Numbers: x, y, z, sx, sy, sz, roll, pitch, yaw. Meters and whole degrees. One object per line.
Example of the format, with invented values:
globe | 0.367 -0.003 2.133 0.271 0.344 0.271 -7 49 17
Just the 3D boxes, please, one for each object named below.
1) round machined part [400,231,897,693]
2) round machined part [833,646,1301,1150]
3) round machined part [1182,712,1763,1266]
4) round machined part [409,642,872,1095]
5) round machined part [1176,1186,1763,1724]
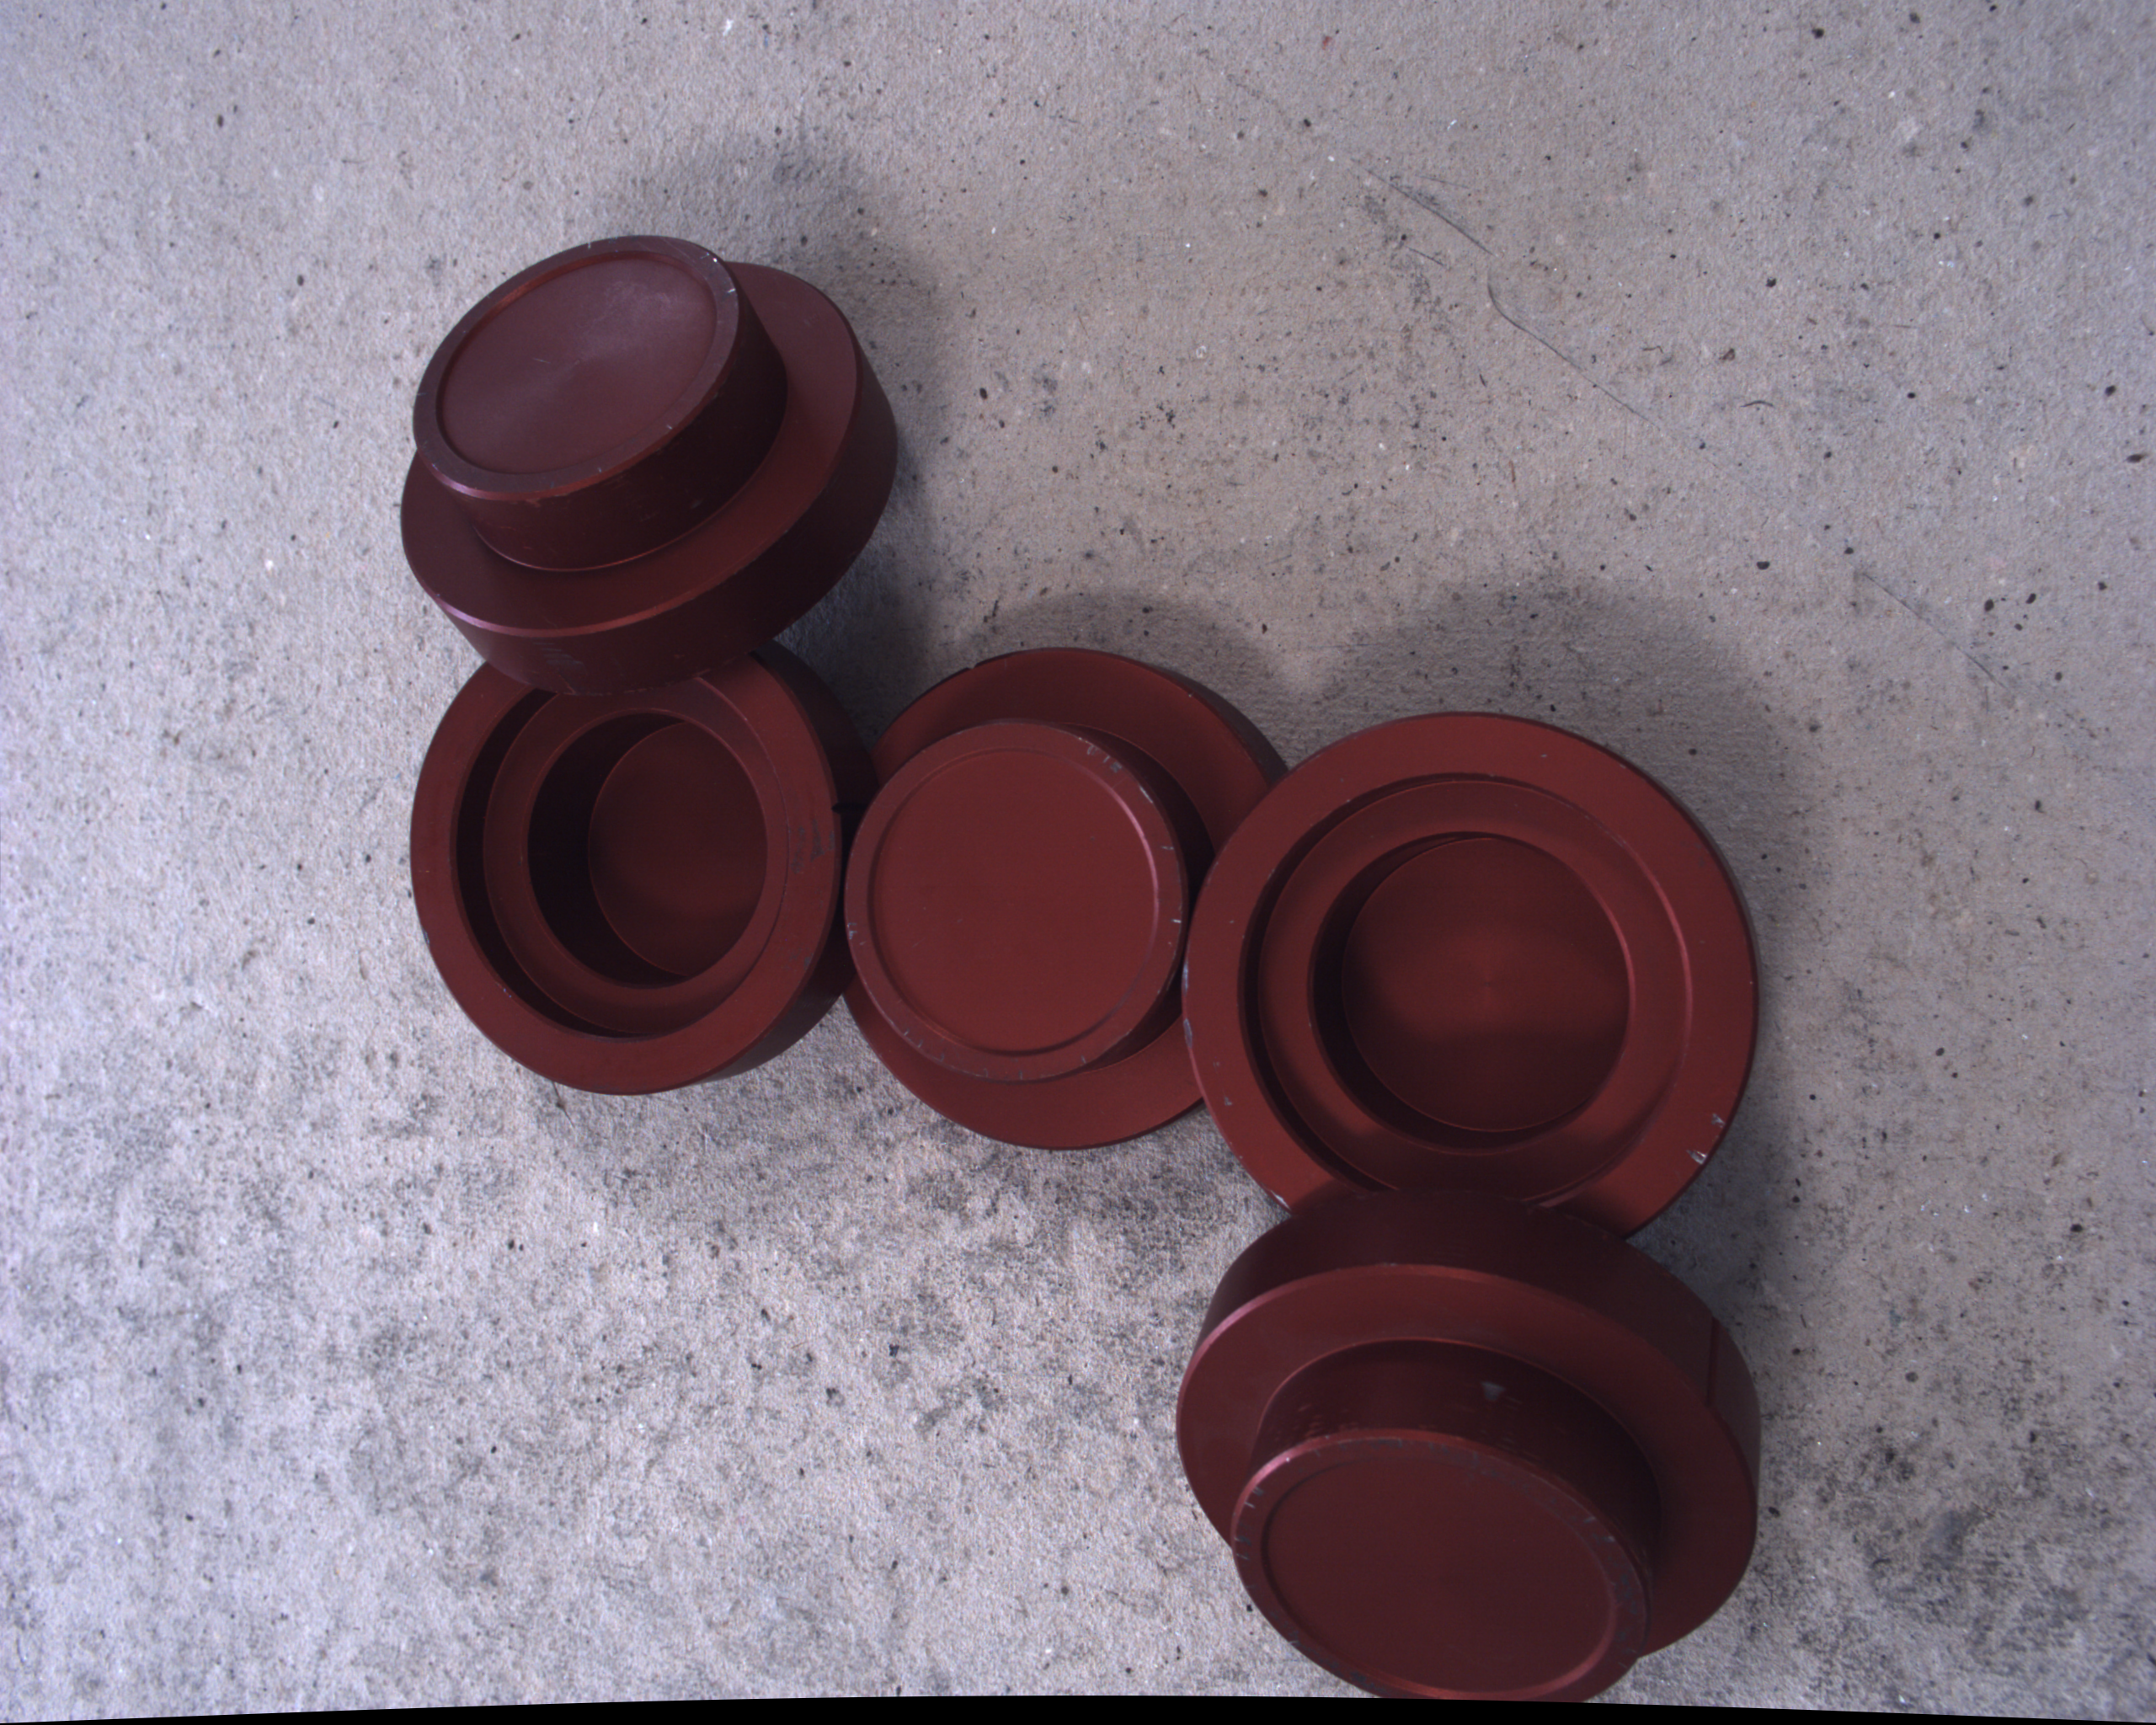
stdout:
round machined part | -0.089 -0.085 0.409 0.098 0.042 0.098 -8 57 13
round machined part | -0.006 0.007 0.402 0.098 0.042 0.097 -1 87 21
round machined part | 0.072 0.023 0.375 0.098 0.042 0.097 0 90 20
round machined part | -0.084 -0.003 0.430 0.098 0.042 0.097 0 90 20
round machined part | 0.064 0.106 0.354 0.098 0.042 0.097 9 122 15
